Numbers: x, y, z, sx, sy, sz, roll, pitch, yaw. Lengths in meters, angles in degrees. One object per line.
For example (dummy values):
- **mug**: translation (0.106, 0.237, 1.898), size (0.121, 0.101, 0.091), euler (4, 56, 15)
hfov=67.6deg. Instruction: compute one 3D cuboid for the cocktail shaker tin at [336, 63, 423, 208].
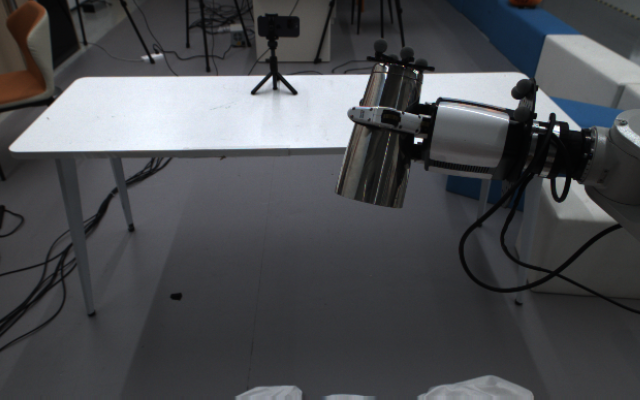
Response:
- **cocktail shaker tin**: translation (0.083, -0.083, 0.625), size (0.093, 0.170, 0.093), euler (12, 7, -1)
